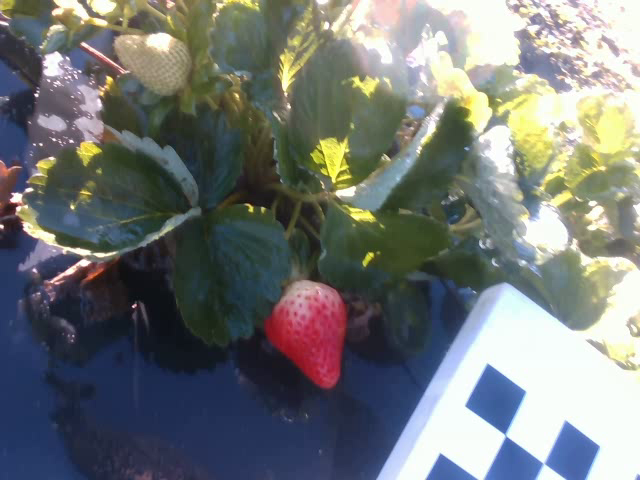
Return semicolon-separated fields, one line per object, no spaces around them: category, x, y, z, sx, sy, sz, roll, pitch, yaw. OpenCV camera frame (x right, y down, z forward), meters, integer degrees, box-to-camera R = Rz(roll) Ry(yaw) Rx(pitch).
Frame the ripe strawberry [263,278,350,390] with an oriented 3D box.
ripe strawberry;-0.005;0.051;0.299;0.040;0.065;0.040;-10;-12;-22
